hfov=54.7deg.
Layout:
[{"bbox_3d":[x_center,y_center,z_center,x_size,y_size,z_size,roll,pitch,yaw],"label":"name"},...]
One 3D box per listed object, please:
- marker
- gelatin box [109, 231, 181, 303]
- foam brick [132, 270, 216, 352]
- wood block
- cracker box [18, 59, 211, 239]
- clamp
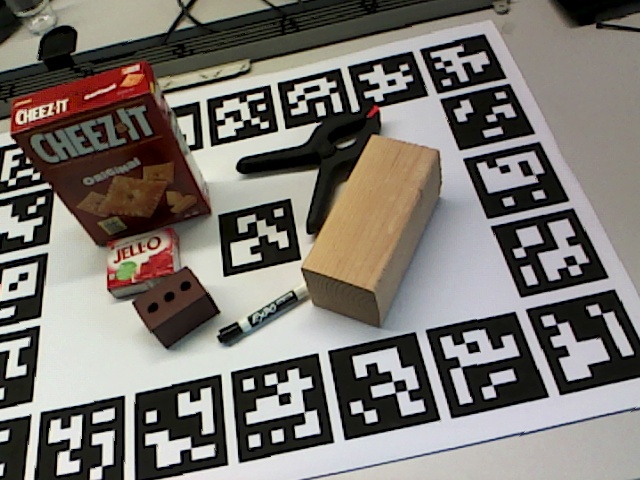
[{"bbox_3d":[-0.080,0.097,0.735,0.121,0.019,0.020,-30,59,-8],"label":"marker"},{"bbox_3d":[-0.227,0.034,0.802,0.089,0.030,0.073,-14,58,2],"label":"gelatin box"},{"bbox_3d":[-0.175,0.085,0.744,0.078,0.051,0.053,-34,60,-11],"label":"foam brick"},{"bbox_3d":[0.061,-0.010,0.738,0.090,0.090,0.206,16,60,23],"label":"wood block"},{"bbox_3d":[-0.245,-0.103,0.775,0.164,0.213,0.072,-16,55,-1],"label":"cracker box"},{"bbox_3d":[0.002,-0.112,0.842,0.202,0.036,0.166,-40,60,-14],"label":"clamp"}]
